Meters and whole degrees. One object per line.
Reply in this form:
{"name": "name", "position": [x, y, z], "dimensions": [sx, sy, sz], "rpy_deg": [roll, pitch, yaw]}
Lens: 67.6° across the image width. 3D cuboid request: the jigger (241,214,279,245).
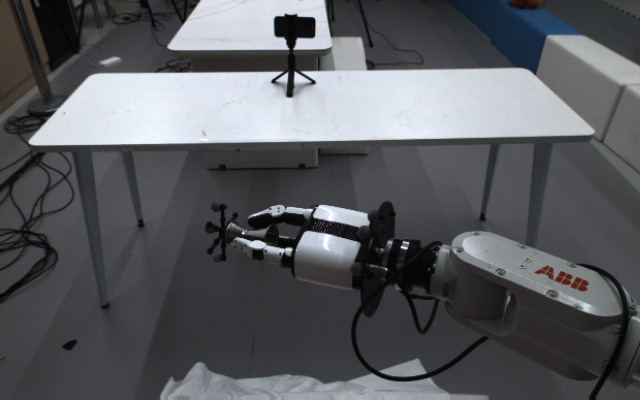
{"name": "jigger", "position": [-0.095, 0.052, 0.722], "dimensions": [0.071, 0.043, 0.043], "rpy_deg": [5, 34, 22]}
